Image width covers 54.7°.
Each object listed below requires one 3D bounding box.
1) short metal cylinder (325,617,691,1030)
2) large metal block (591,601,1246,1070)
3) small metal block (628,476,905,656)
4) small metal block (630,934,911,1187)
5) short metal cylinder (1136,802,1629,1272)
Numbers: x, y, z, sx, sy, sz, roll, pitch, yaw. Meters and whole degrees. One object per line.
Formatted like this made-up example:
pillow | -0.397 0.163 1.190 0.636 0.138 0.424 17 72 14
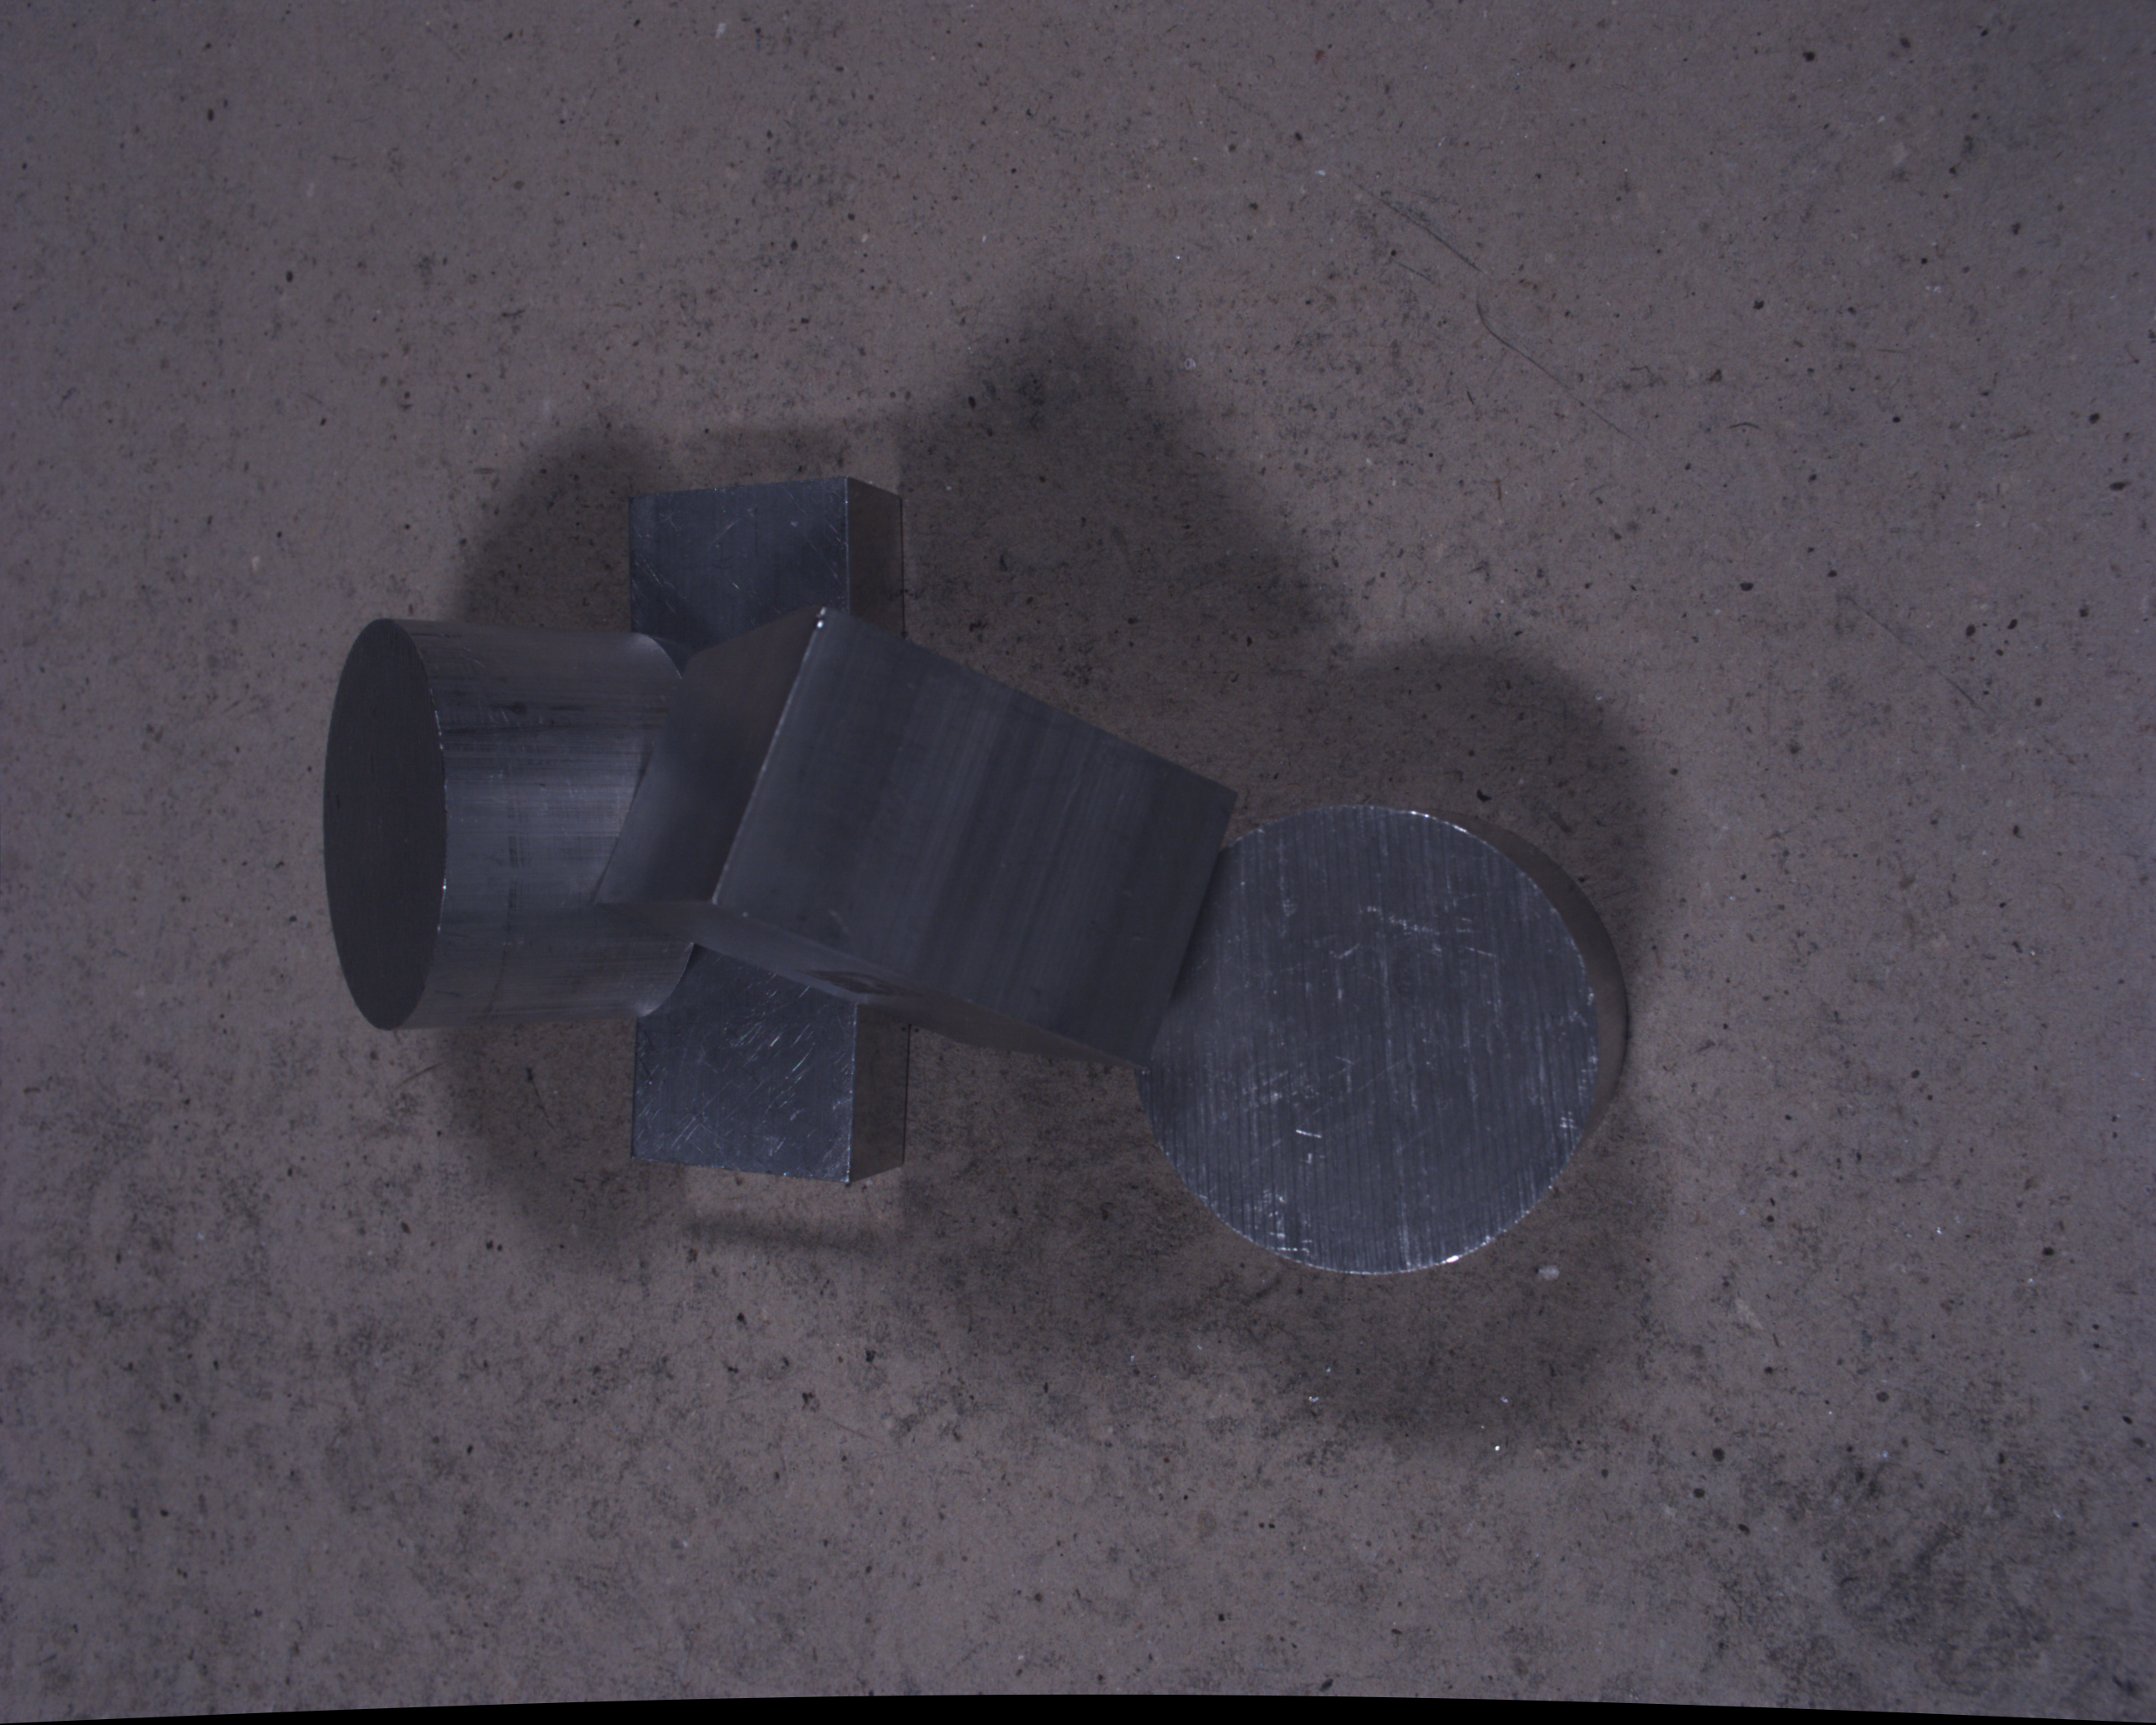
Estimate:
short metal cylinder | -0.114 -0.008 0.416 0.080 0.050 0.079 2 92 55
large metal block | -0.031 -0.002 0.371 0.080 0.080 0.050 23 79 -24
small metal block | -0.064 -0.051 0.431 0.050 0.025 0.050 -1 90 19
small metal block | -0.063 0.038 0.431 0.050 0.025 0.050 3 91 19
short metal cylinder | 0.056 0.029 0.377 0.080 0.050 0.079 0 90 19
